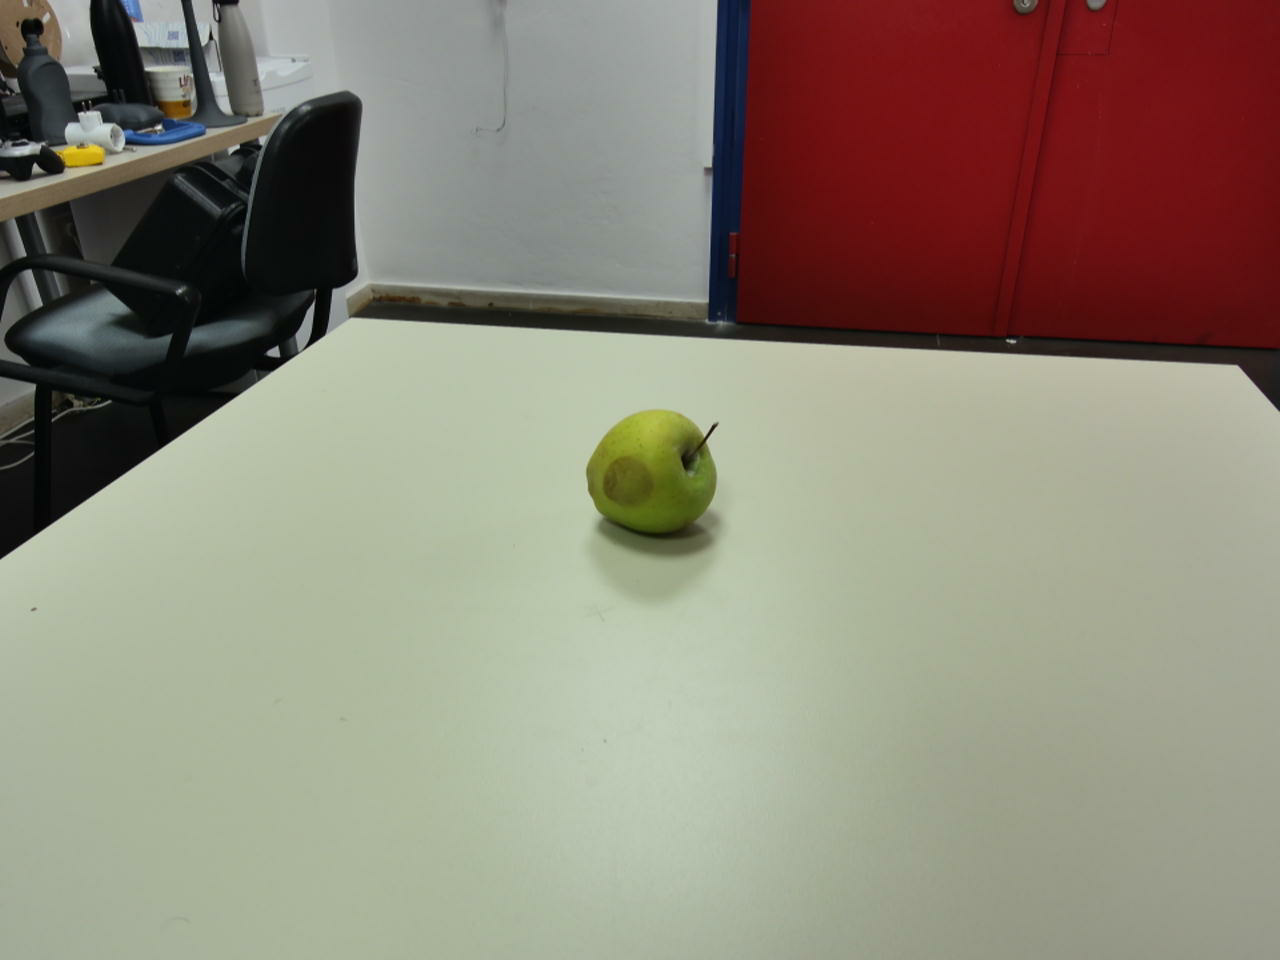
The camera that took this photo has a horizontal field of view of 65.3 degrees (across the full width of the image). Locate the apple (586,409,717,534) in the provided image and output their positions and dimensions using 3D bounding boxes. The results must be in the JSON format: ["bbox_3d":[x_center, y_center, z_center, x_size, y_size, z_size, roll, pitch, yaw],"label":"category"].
[{"bbox_3d":[0.008,-0.006,0.612,0.072,0.075,0.077,-19,31,-30],"label":"apple"}]
